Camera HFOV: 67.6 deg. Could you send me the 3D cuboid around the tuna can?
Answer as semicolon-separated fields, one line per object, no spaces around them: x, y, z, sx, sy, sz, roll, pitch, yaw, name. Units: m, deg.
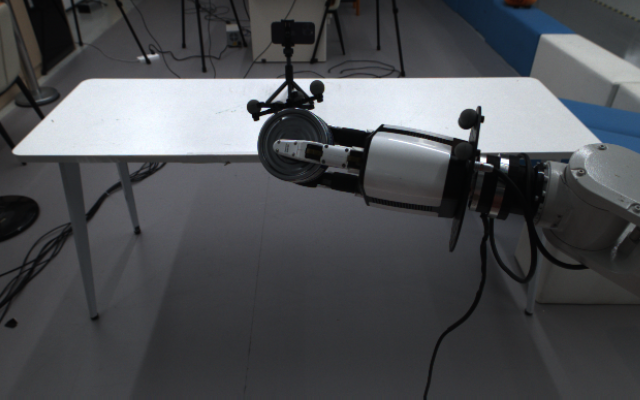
-0.024;-0.057;0.560;0.085;0.085;0.034;12;3;14;tuna can
